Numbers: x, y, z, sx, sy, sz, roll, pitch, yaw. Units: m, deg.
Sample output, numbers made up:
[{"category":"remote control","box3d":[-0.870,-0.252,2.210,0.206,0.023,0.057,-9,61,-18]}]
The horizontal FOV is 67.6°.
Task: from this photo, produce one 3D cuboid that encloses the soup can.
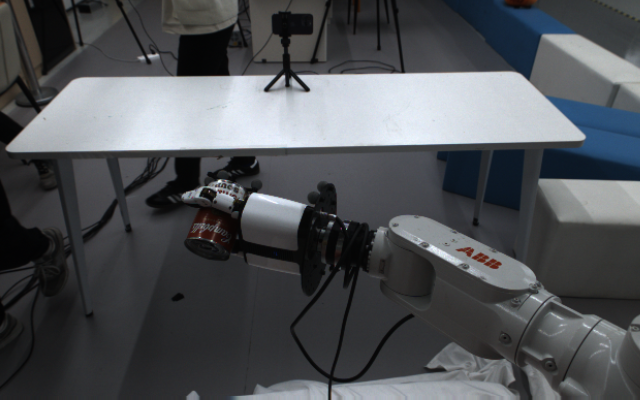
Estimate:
[{"category":"soup can","box3d":[-0.148,0.029,0.704,0.067,0.067,0.101,9,58,10]}]
